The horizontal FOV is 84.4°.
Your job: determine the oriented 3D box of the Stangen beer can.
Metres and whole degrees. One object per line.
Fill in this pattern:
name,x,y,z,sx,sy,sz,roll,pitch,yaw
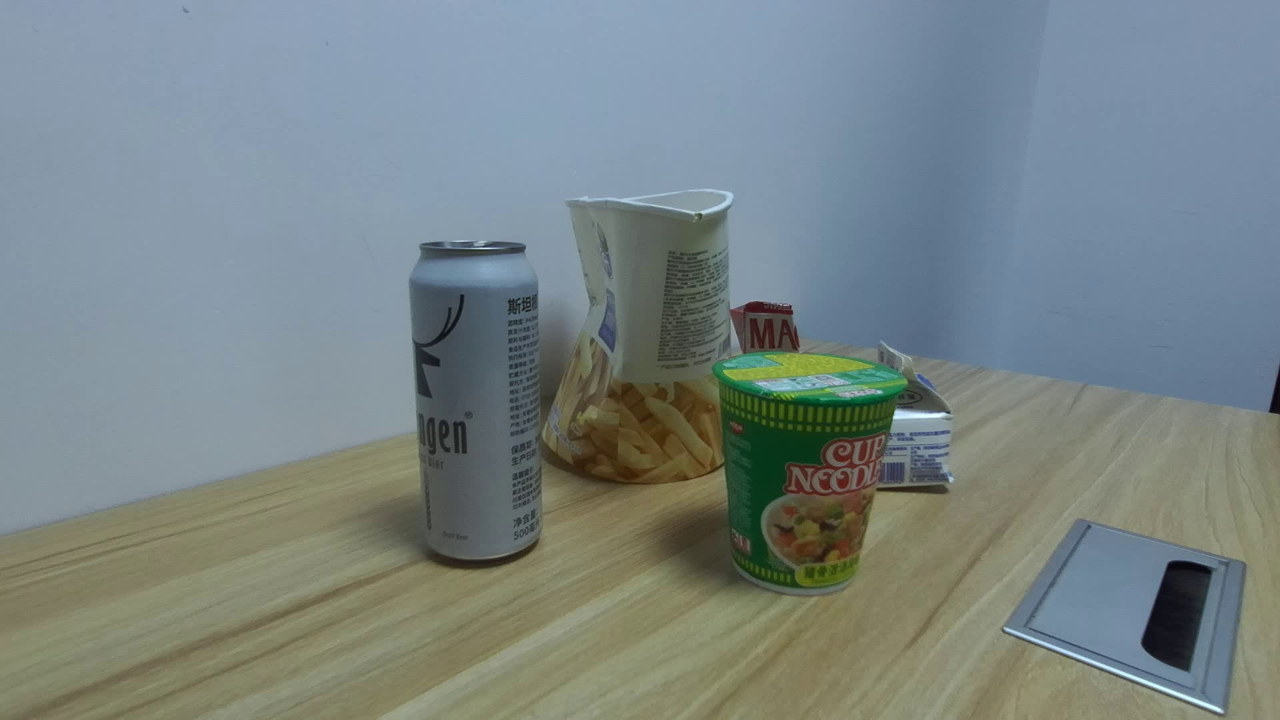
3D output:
Stangen beer can,-0.088,0.023,0.388,0.067,0.171,0.067,1,12,0

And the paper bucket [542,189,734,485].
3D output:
paper bucket,0.002,-0.026,0.528,0.148,0.199,0.217,-12,18,-42

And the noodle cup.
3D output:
noodle cup,0.085,0.058,0.372,0.097,0.110,0.097,0,14,0

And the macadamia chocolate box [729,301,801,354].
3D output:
macadamia chocolate box,0.114,-0.003,0.634,0.056,0.112,0.126,0,13,-3

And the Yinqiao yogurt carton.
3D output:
Yinqiao yogurt carton,0.179,0.037,0.506,0.071,0.094,0.077,-4,14,4
